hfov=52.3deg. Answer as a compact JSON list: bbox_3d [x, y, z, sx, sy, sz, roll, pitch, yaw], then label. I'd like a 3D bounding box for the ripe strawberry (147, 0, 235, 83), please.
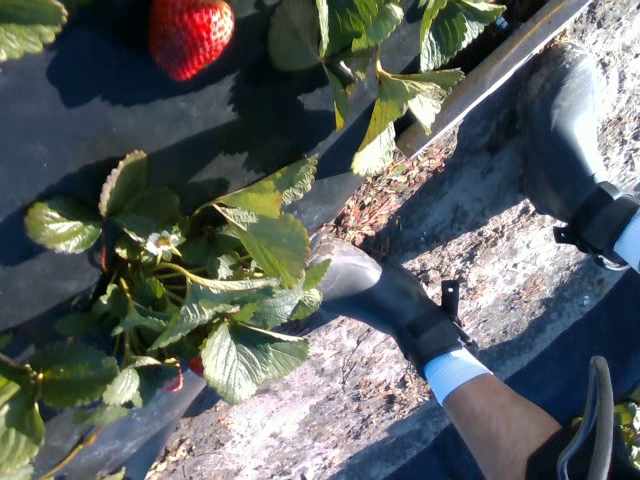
[{"bbox_3d":[-0.061,-0.100,0.299,0.044,0.056,0.042,27,18,1],"label":"ripe strawberry"}]
